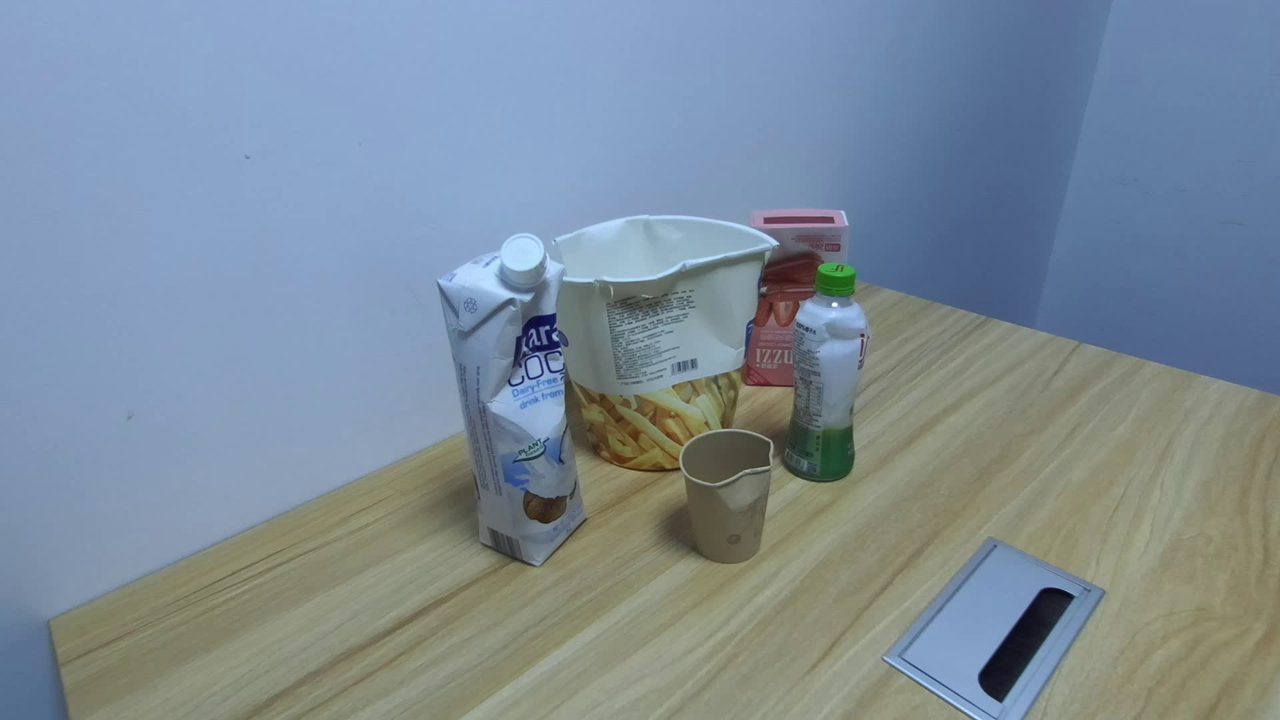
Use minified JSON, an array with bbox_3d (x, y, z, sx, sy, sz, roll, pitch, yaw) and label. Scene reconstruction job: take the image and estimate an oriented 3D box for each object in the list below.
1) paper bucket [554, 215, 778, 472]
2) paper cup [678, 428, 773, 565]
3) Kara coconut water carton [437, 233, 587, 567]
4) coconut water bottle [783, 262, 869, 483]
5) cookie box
[{"bbox_3d":[0.010,-0.019,0.663,0.203,0.197,0.145,-19,31,-27],"label":"paper bucket"},{"bbox_3d":[0.070,0.109,0.547,0.068,0.081,0.073,9,27,25],"label":"paper cup"},{"bbox_3d":[-0.092,0.030,0.527,0.078,0.256,0.083,22,36,38],"label":"Kara coconut water carton"},{"bbox_3d":[0.161,0.011,0.604,0.069,0.186,0.069,-1,26,1],"label":"coconut water bottle"},{"bbox_3d":[0.159,-0.063,0.748,0.105,0.188,0.049,1,28,8],"label":"cookie box"}]
